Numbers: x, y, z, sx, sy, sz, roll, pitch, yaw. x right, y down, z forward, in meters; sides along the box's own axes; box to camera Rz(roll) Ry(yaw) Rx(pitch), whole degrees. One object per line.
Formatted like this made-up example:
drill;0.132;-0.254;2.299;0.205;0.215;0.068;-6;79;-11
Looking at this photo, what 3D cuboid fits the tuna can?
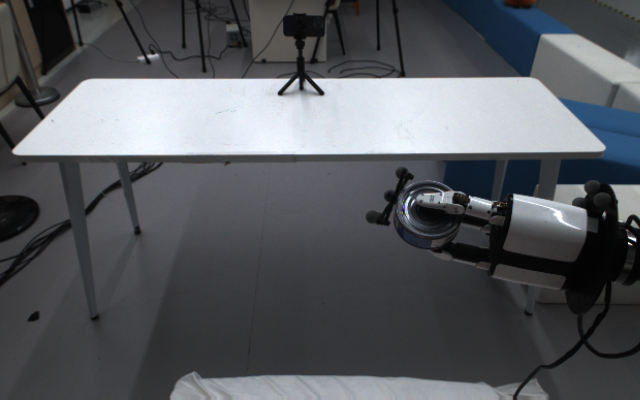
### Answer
tuna can;0.140;0.017;0.622;0.085;0.034;0.085;-1;60;1
